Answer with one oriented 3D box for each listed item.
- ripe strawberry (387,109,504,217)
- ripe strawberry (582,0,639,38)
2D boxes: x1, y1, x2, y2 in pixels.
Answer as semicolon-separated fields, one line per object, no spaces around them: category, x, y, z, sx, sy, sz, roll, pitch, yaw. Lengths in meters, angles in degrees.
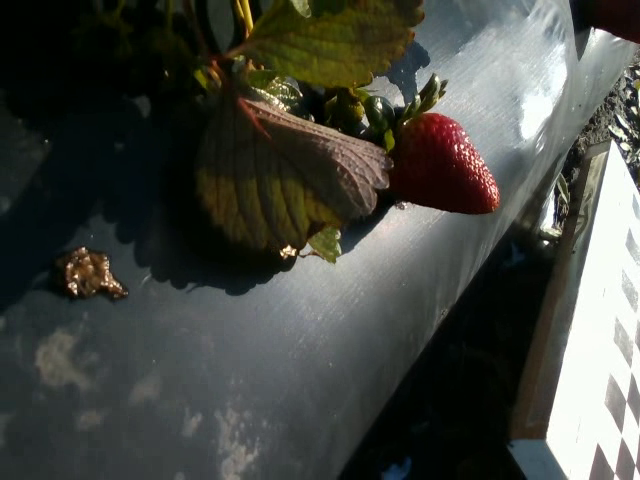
ripe strawberry;0.049;-0.027;0.231;0.055;0.042;0.045;38;39;7
ripe strawberry;0.209;-0.154;0.402;0.042;0.059;0.042;-31;-6;36
